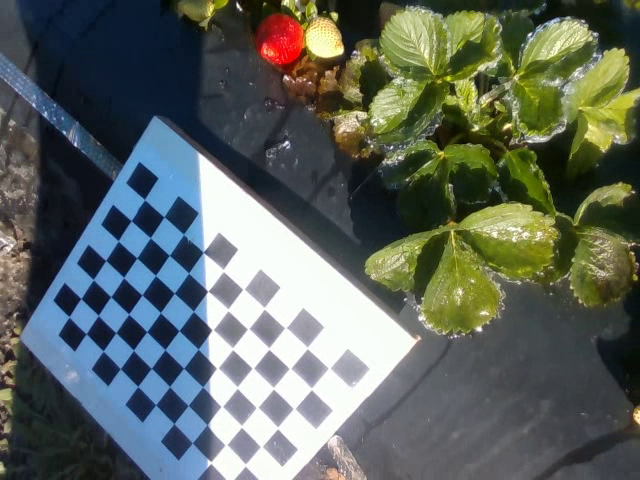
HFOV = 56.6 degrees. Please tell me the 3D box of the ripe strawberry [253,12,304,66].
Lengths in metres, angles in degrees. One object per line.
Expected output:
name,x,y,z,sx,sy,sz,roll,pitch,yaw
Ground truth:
ripe strawberry,-0.031,-0.145,0.427,0.040,0.042,0.053,4,33,16
